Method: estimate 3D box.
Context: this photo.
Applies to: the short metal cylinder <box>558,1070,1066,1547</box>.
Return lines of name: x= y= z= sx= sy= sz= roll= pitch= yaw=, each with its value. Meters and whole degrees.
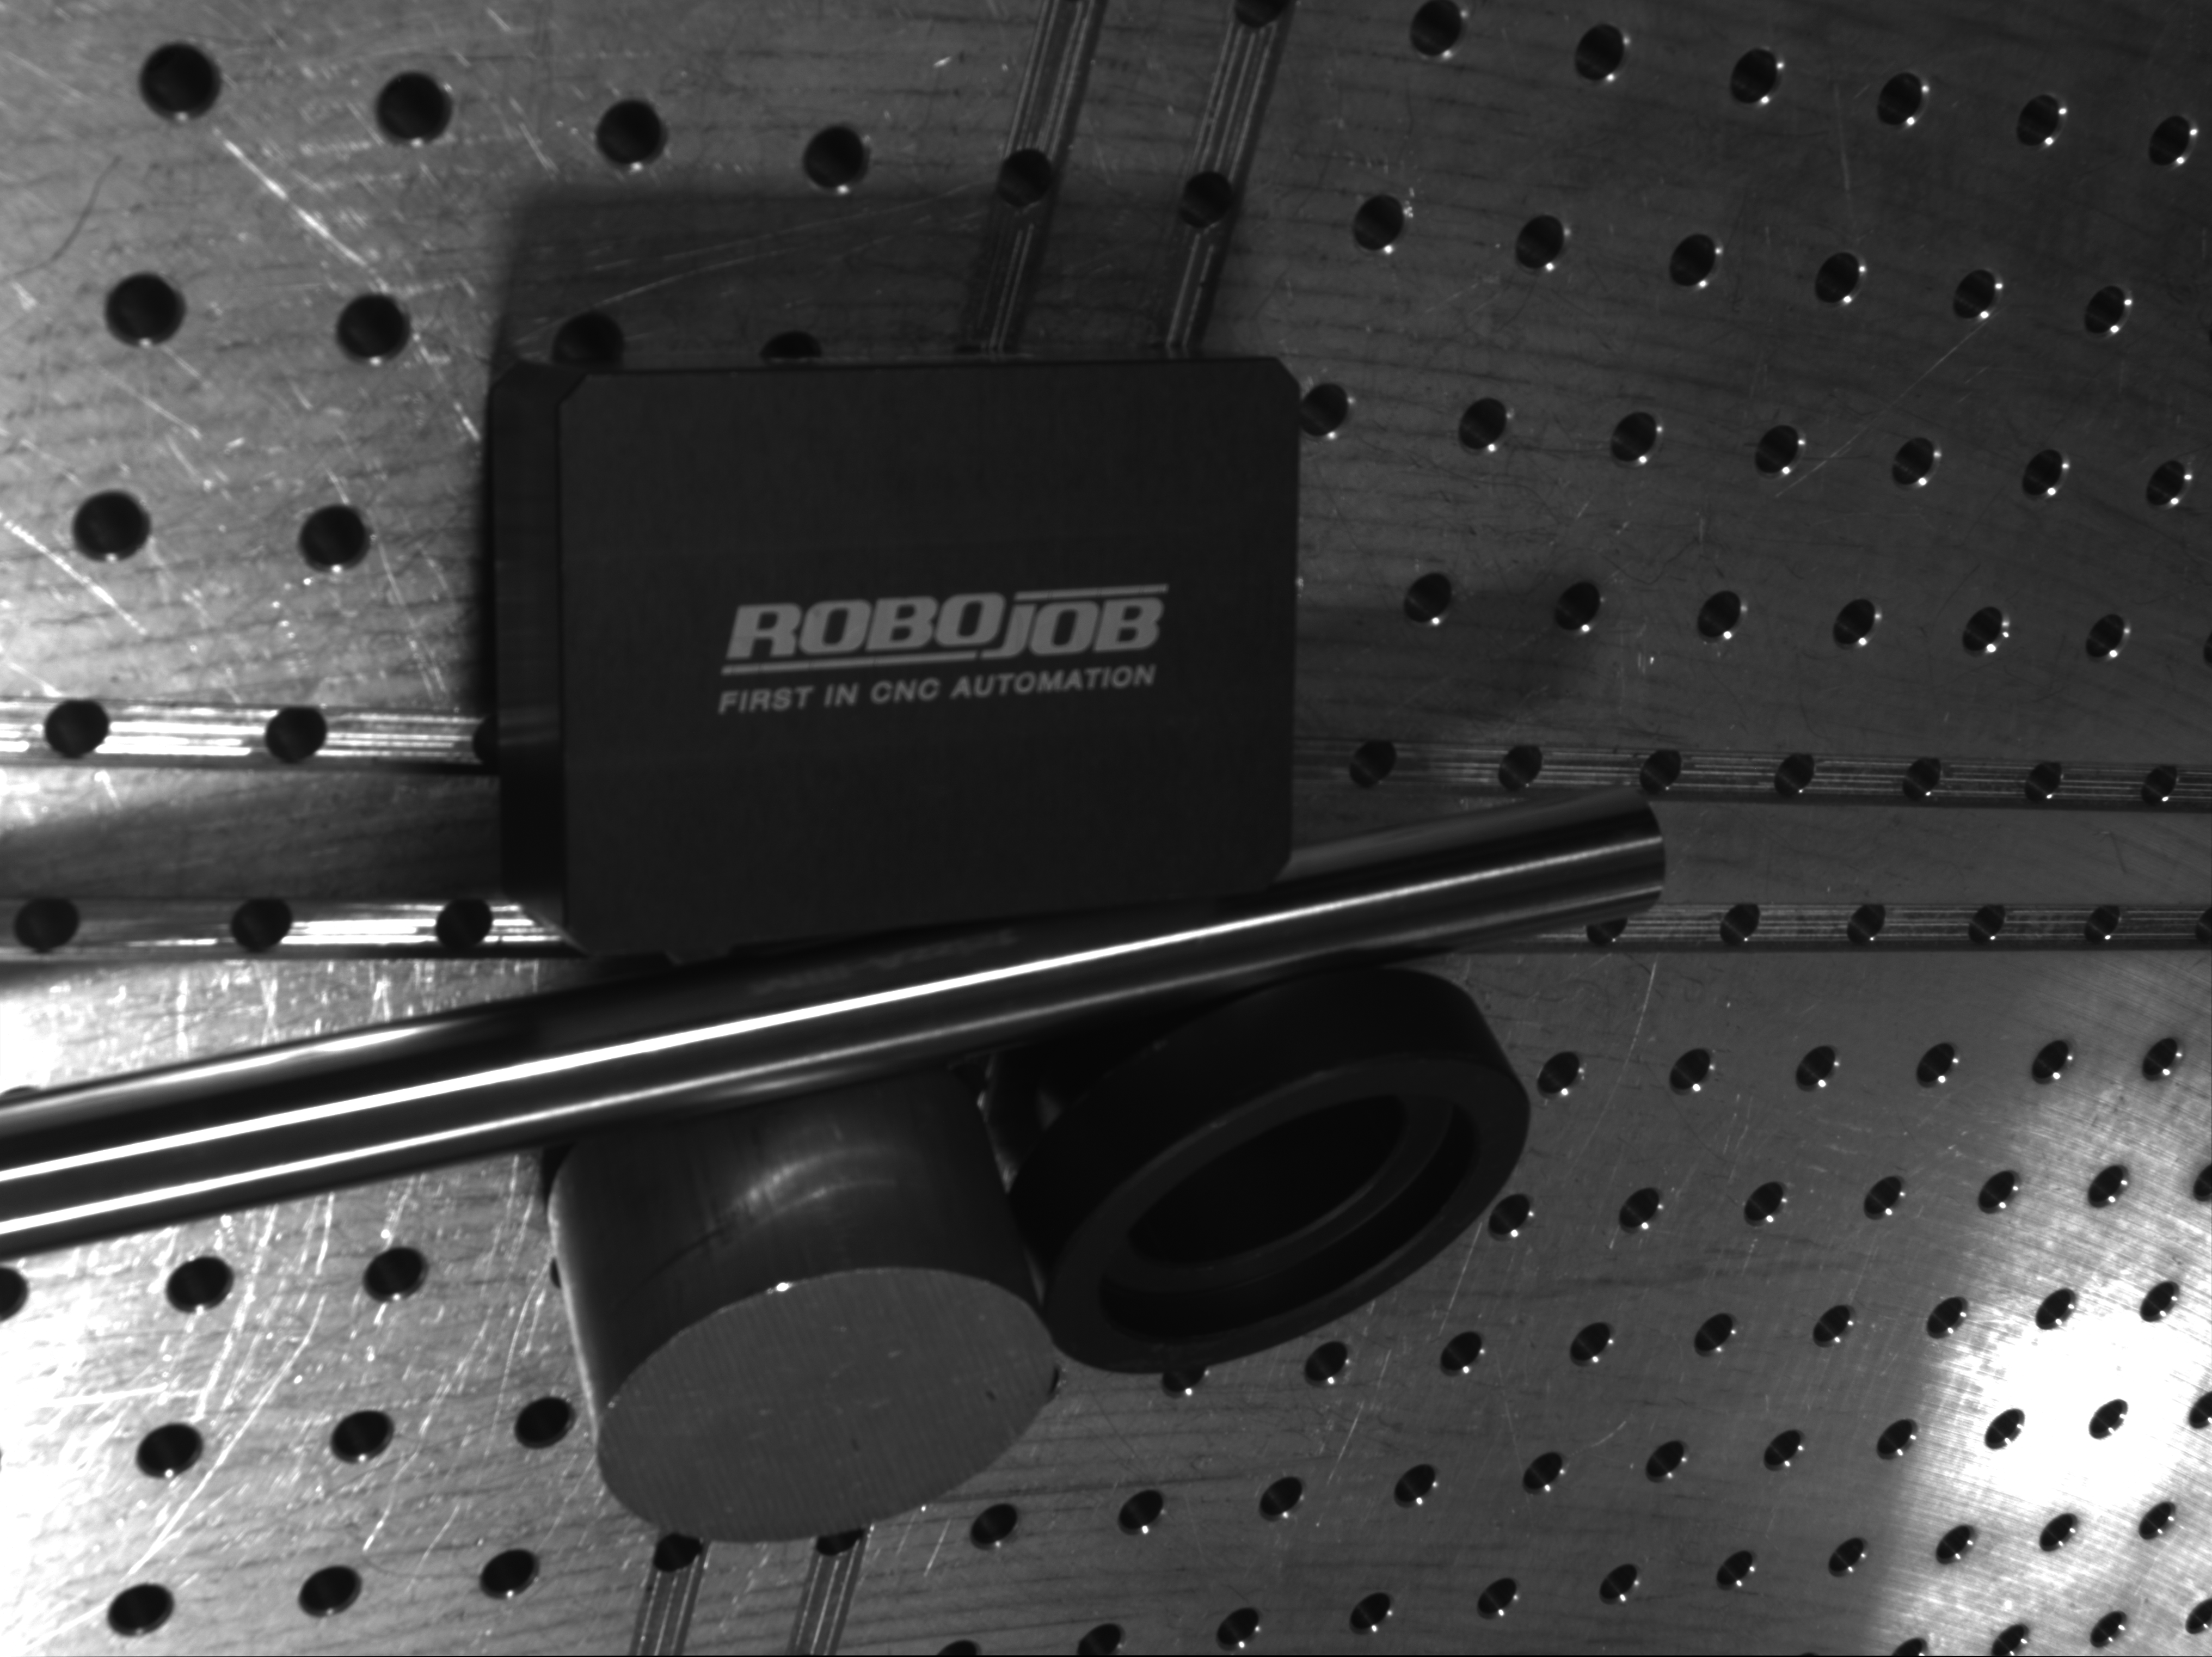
short metal cylinder: x=-0.052 y=0.082 z=0.643 sx=0.080 sy=0.050 sz=0.080 roll=-12 pitch=139 yaw=-10

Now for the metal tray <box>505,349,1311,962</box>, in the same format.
metal tray: x=-0.030 y=-0.031 z=0.596 sx=0.130 sy=0.030 sz=0.090 roll=-5 pitch=102 yaw=-28

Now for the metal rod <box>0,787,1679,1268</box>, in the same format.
metal rod: x=-0.035 y=0.030 z=0.618 sx=0.301 sy=0.025 sz=0.025 roll=-11 pitch=123 yaw=-25

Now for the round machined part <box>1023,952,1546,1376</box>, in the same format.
round machined part: x=0.029 y=0.057 z=0.679 sx=0.098 sy=0.042 sz=0.098 roll=-19 pitch=148 yaw=-12

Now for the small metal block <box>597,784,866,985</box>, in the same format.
small metal block: x=-0.054 y=0.021 z=0.646 sx=0.050 sy=0.025 sz=0.050 roll=20 pitch=107 yaw=-37
